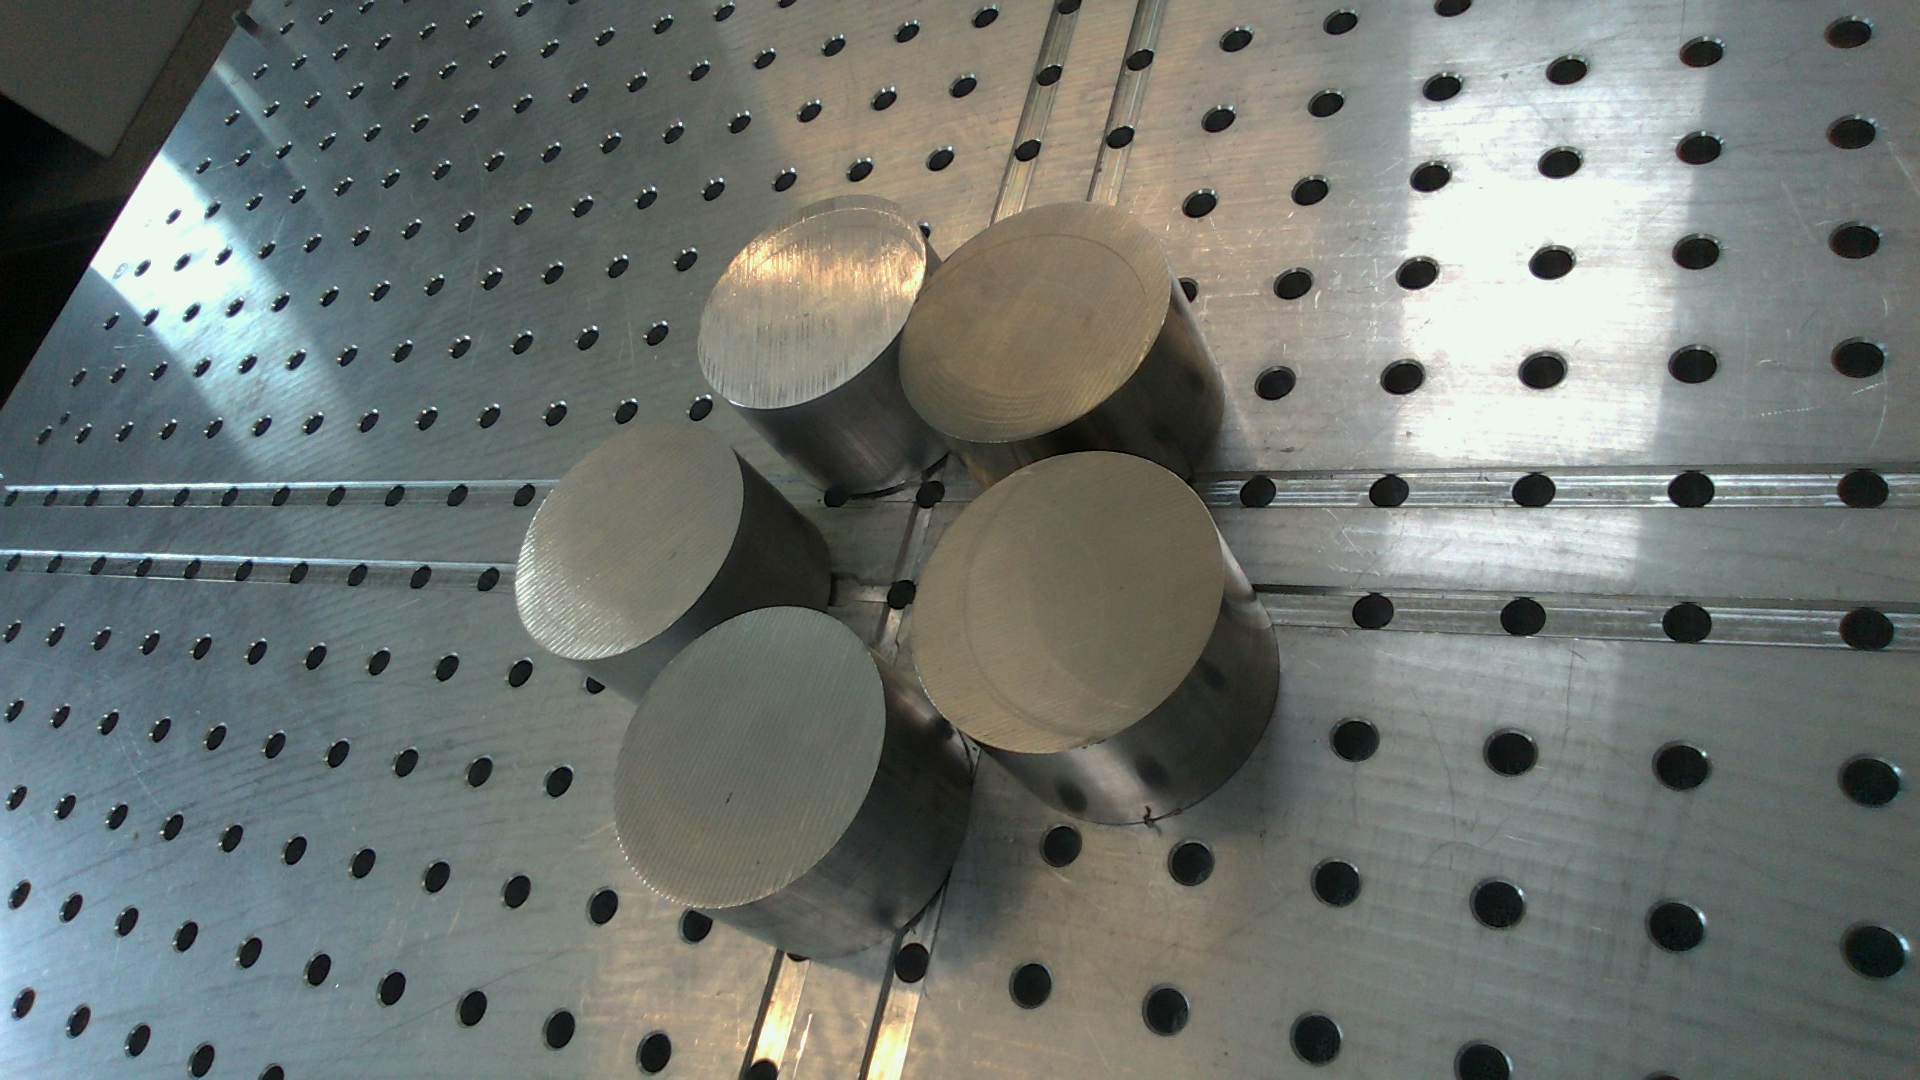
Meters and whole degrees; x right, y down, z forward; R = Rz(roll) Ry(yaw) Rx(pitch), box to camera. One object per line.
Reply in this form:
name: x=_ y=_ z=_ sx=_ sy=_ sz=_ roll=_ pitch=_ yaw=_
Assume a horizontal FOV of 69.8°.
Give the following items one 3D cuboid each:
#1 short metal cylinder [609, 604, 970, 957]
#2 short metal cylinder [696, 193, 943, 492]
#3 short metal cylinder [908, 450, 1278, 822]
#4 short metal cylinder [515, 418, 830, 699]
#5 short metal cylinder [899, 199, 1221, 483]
short metal cylinder: x=-0.044 y=0.064 z=0.364 sx=0.080 sy=0.050 sz=0.080 roll=-14 pitch=55 yaw=21
short metal cylinder: x=-0.036 y=-0.062 z=0.438 sx=0.080 sy=0.050 sz=0.080 roll=-13 pitch=56 yaw=21
short metal cylinder: x=0.034 y=0.025 z=0.346 sx=0.080 sy=0.050 sz=0.080 roll=-13 pitch=57 yaw=21
short metal cylinder: x=-0.087 y=0.010 z=0.421 sx=0.080 sy=0.050 sz=0.080 roll=-13 pitch=56 yaw=21
short metal cylinder: x=0.029 y=-0.050 z=0.394 sx=0.080 sy=0.050 sz=0.080 roll=-14 pitch=56 yaw=21
